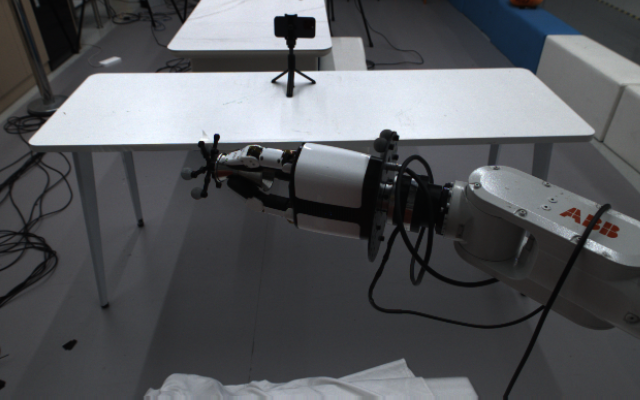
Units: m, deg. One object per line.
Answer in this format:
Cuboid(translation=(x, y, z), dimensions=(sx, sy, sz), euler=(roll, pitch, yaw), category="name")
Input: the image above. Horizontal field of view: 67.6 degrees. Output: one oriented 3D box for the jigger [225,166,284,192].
Cuboid(translation=(-0.093, -0.042, 0.634), dimensions=(0.071, 0.043, 0.043), euler=(10, 35, 16), category="jigger")
